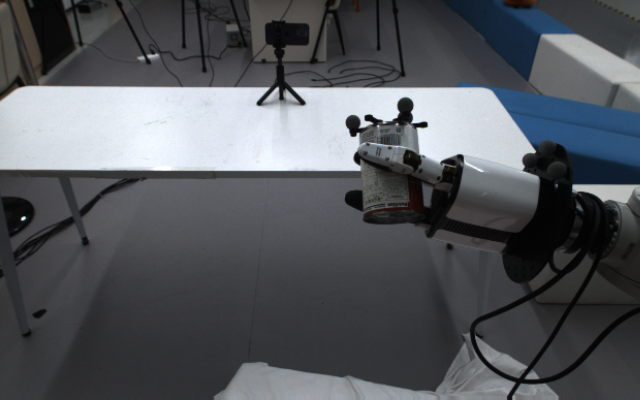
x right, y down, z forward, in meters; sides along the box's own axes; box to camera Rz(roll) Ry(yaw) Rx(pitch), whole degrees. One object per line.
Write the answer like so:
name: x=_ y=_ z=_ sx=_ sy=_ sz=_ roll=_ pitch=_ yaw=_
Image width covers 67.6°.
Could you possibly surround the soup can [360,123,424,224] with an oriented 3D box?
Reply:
soup can: x=0.079 y=-0.032 z=0.541 sx=0.067 sy=0.067 sz=0.101 roll=-1 pitch=76 yaw=-4
